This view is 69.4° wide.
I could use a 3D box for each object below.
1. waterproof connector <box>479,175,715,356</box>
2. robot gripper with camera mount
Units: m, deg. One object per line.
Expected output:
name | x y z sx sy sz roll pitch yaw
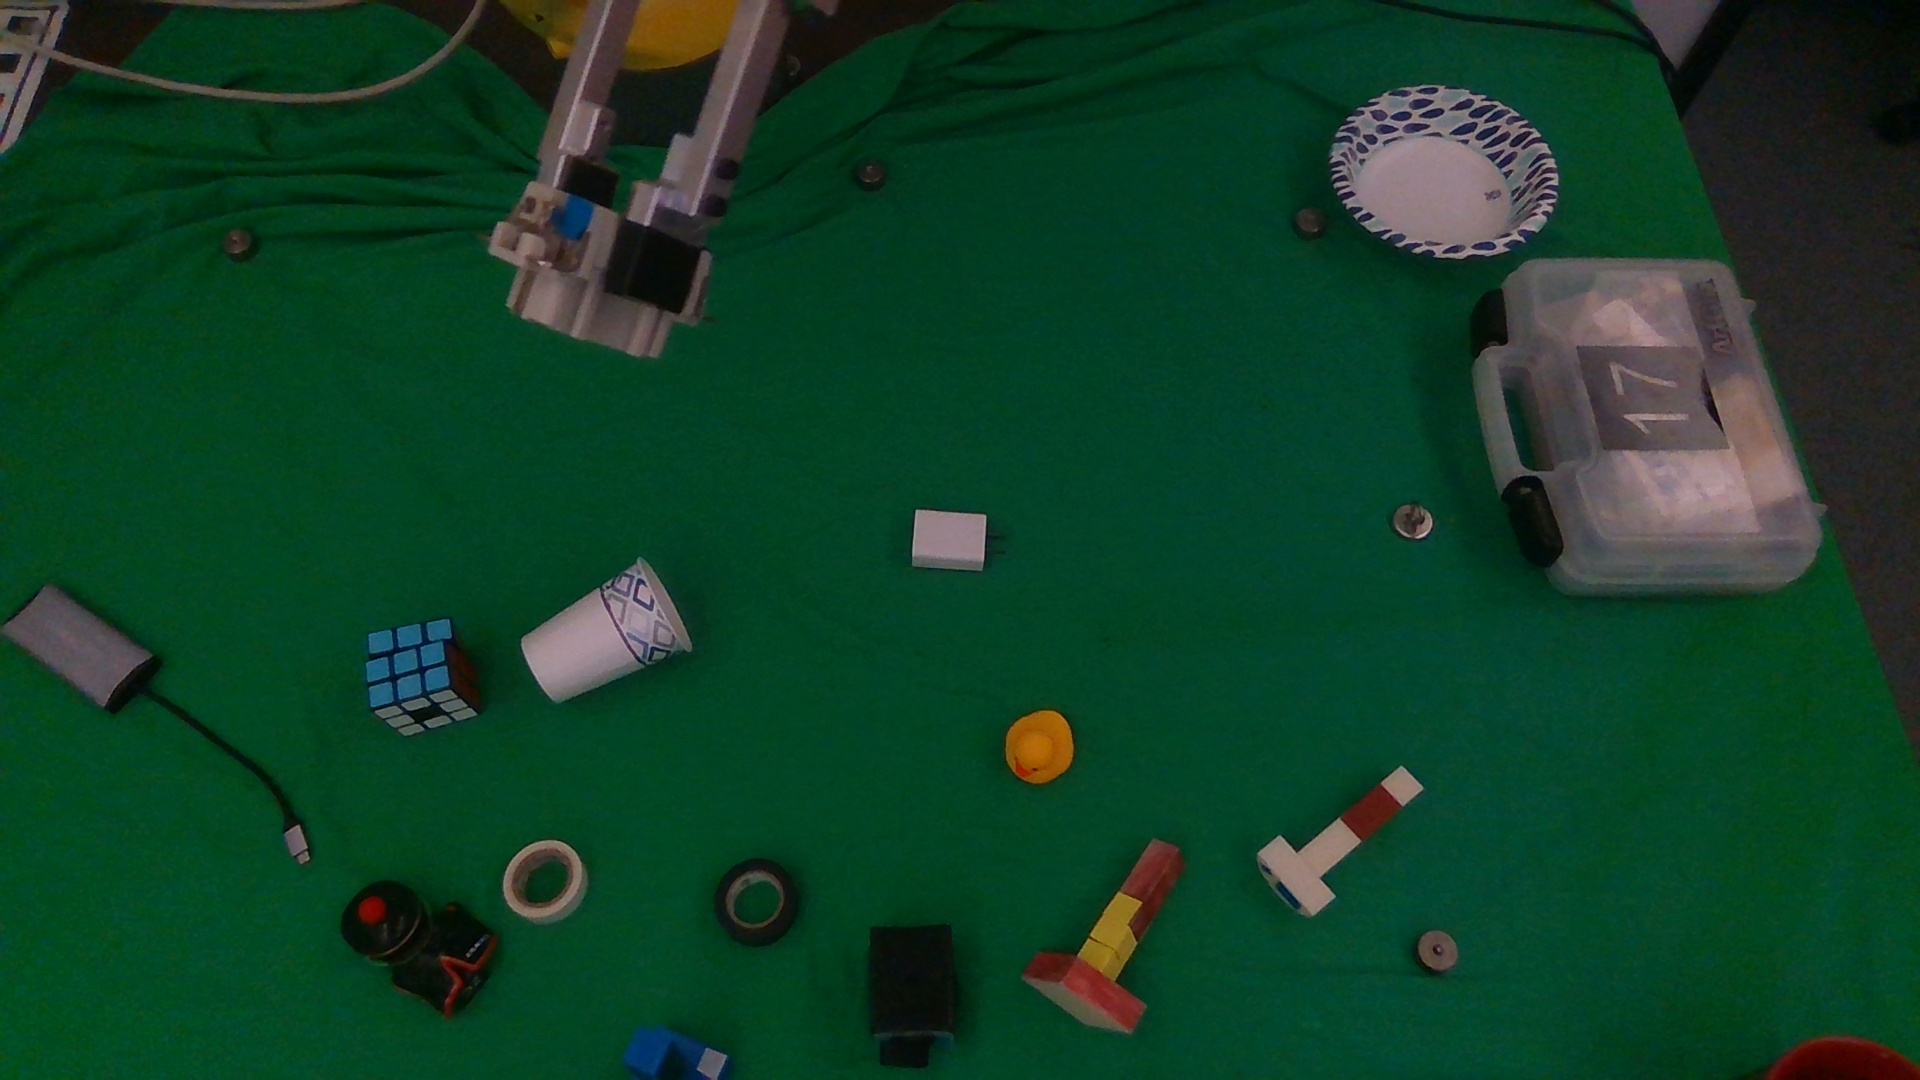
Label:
waterproof connector | -0.100 -0.075 0.388 0.035 0.065 0.037 29 99 31
robot gripper with camera mount | -0.114 -0.154 0.310 0.119 0.192 0.158 27 97 35
